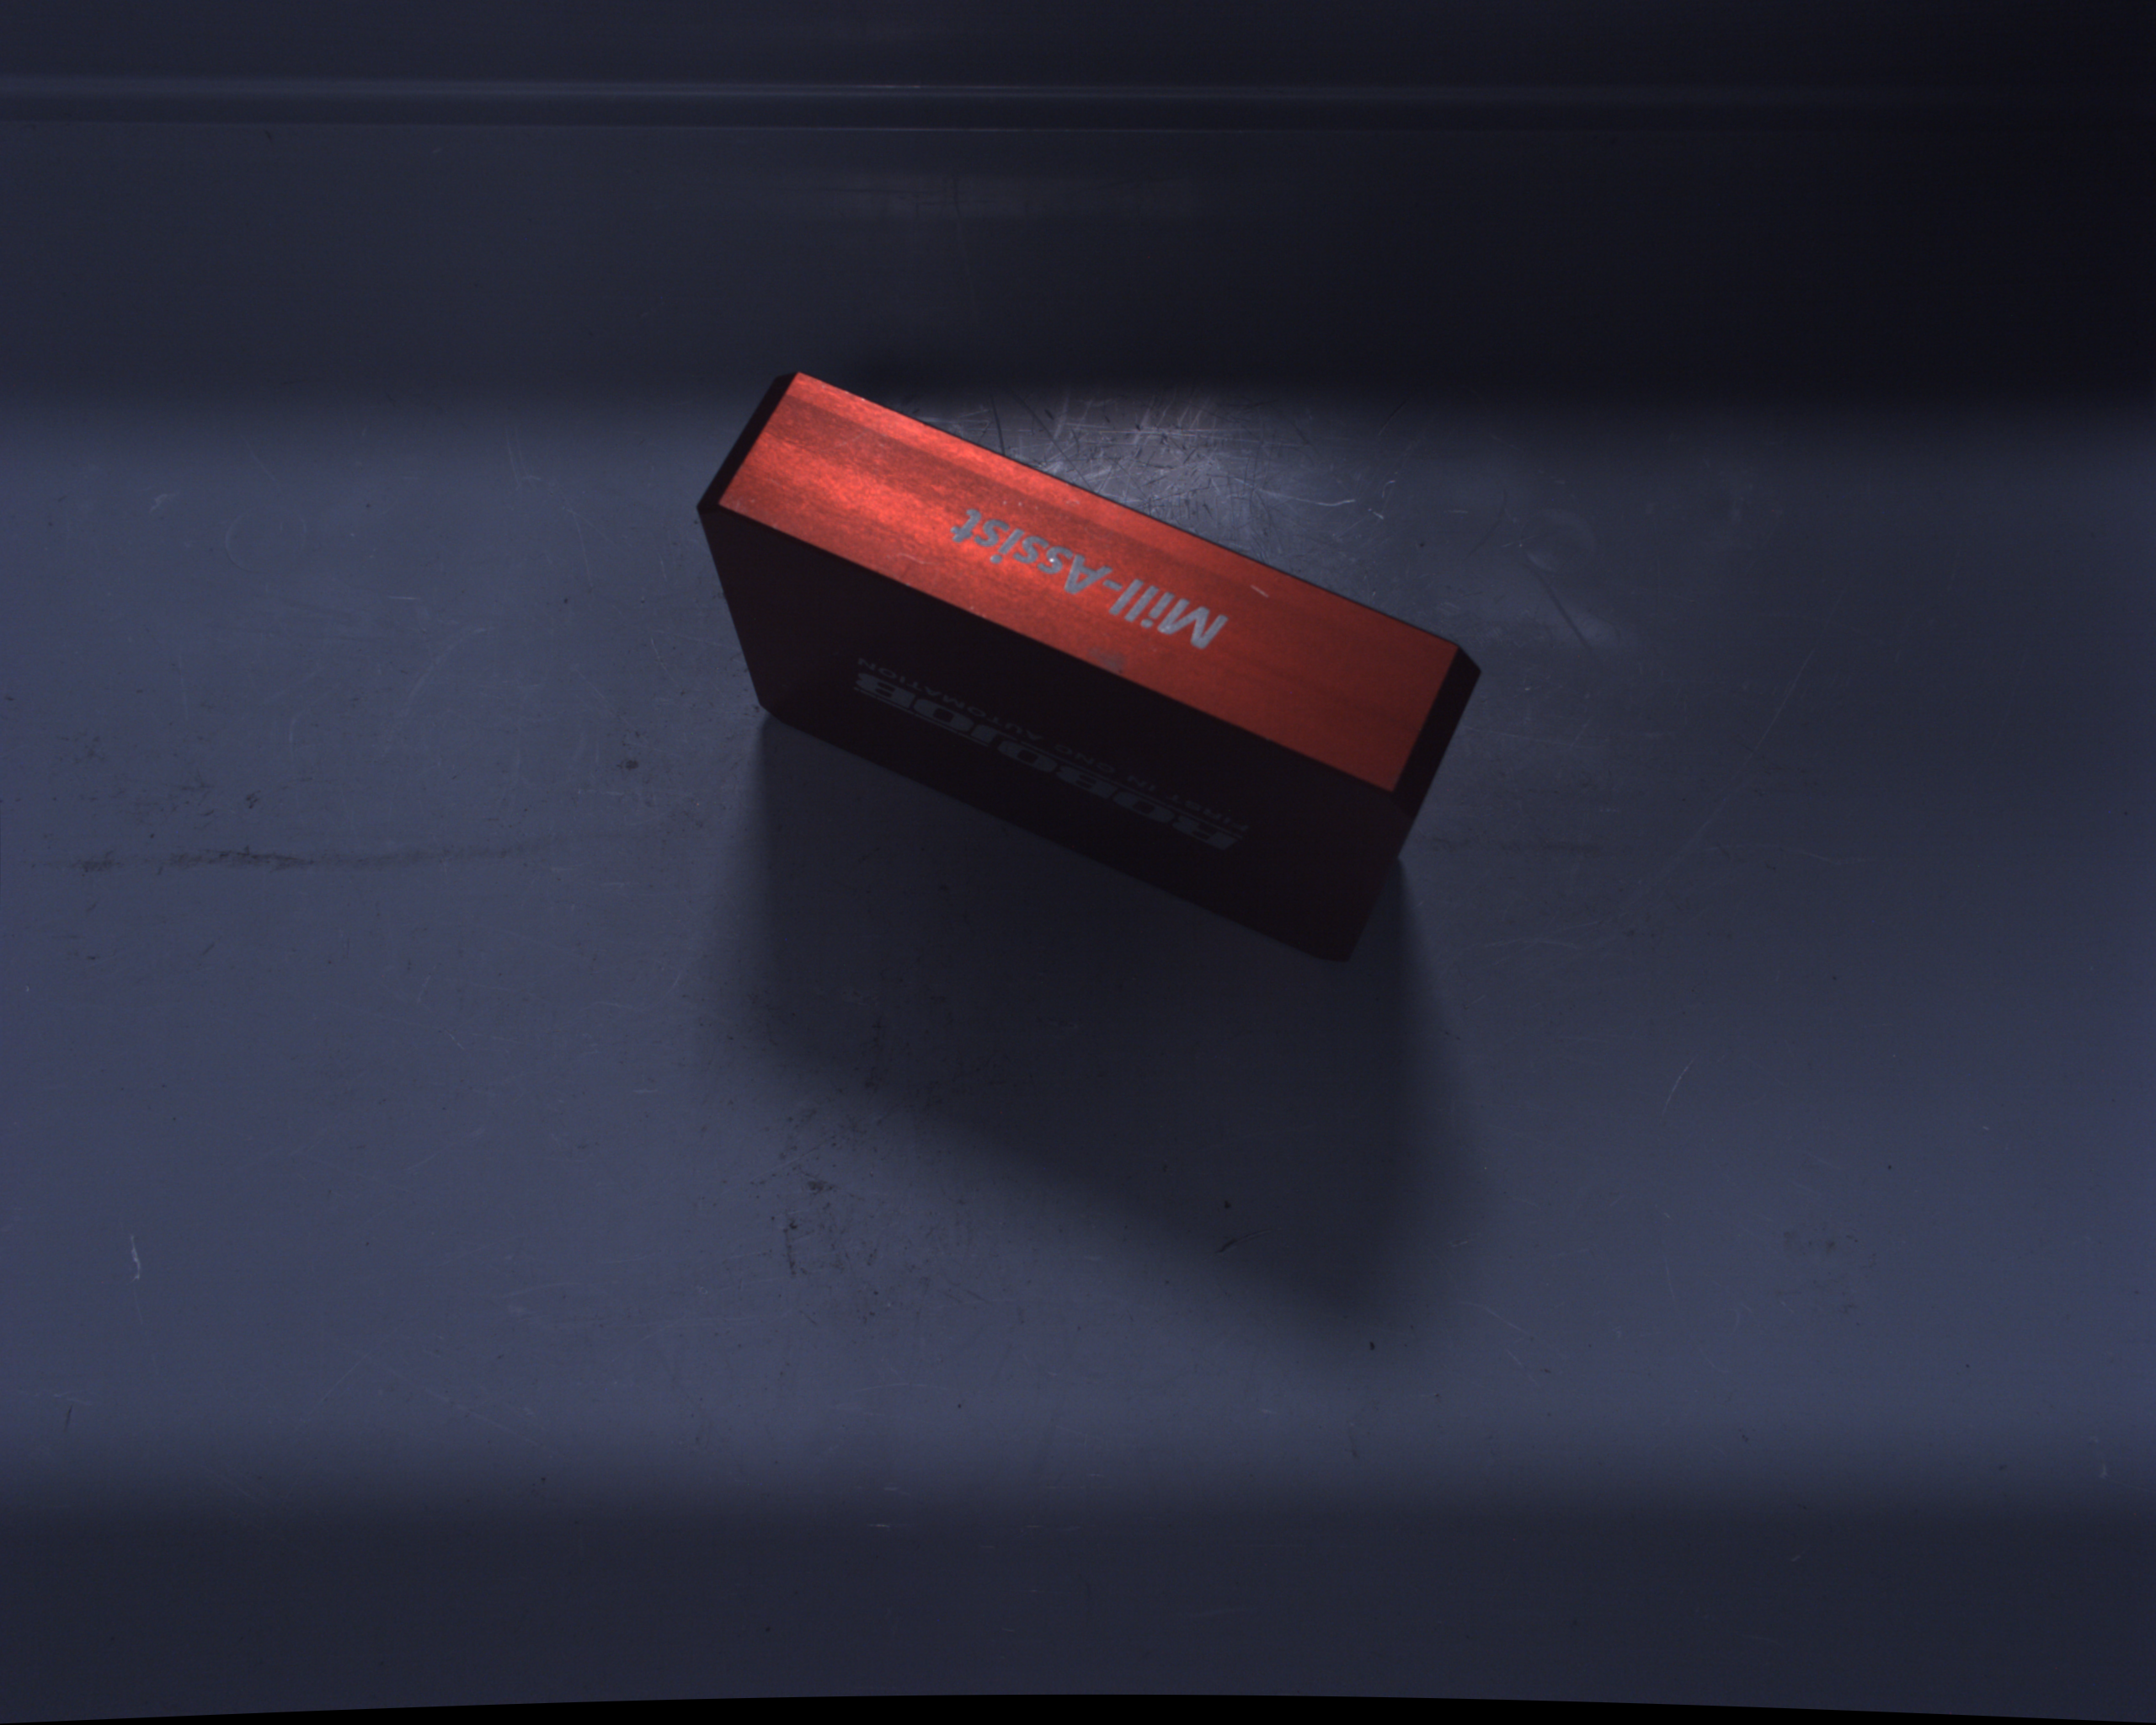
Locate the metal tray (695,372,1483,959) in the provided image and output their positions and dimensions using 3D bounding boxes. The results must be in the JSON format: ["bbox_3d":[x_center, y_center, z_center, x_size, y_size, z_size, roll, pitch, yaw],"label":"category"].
[{"bbox_3d":[0.001,-0.032,0.383,0.130,0.090,0.030,24,72,7],"label":"metal tray"}]
